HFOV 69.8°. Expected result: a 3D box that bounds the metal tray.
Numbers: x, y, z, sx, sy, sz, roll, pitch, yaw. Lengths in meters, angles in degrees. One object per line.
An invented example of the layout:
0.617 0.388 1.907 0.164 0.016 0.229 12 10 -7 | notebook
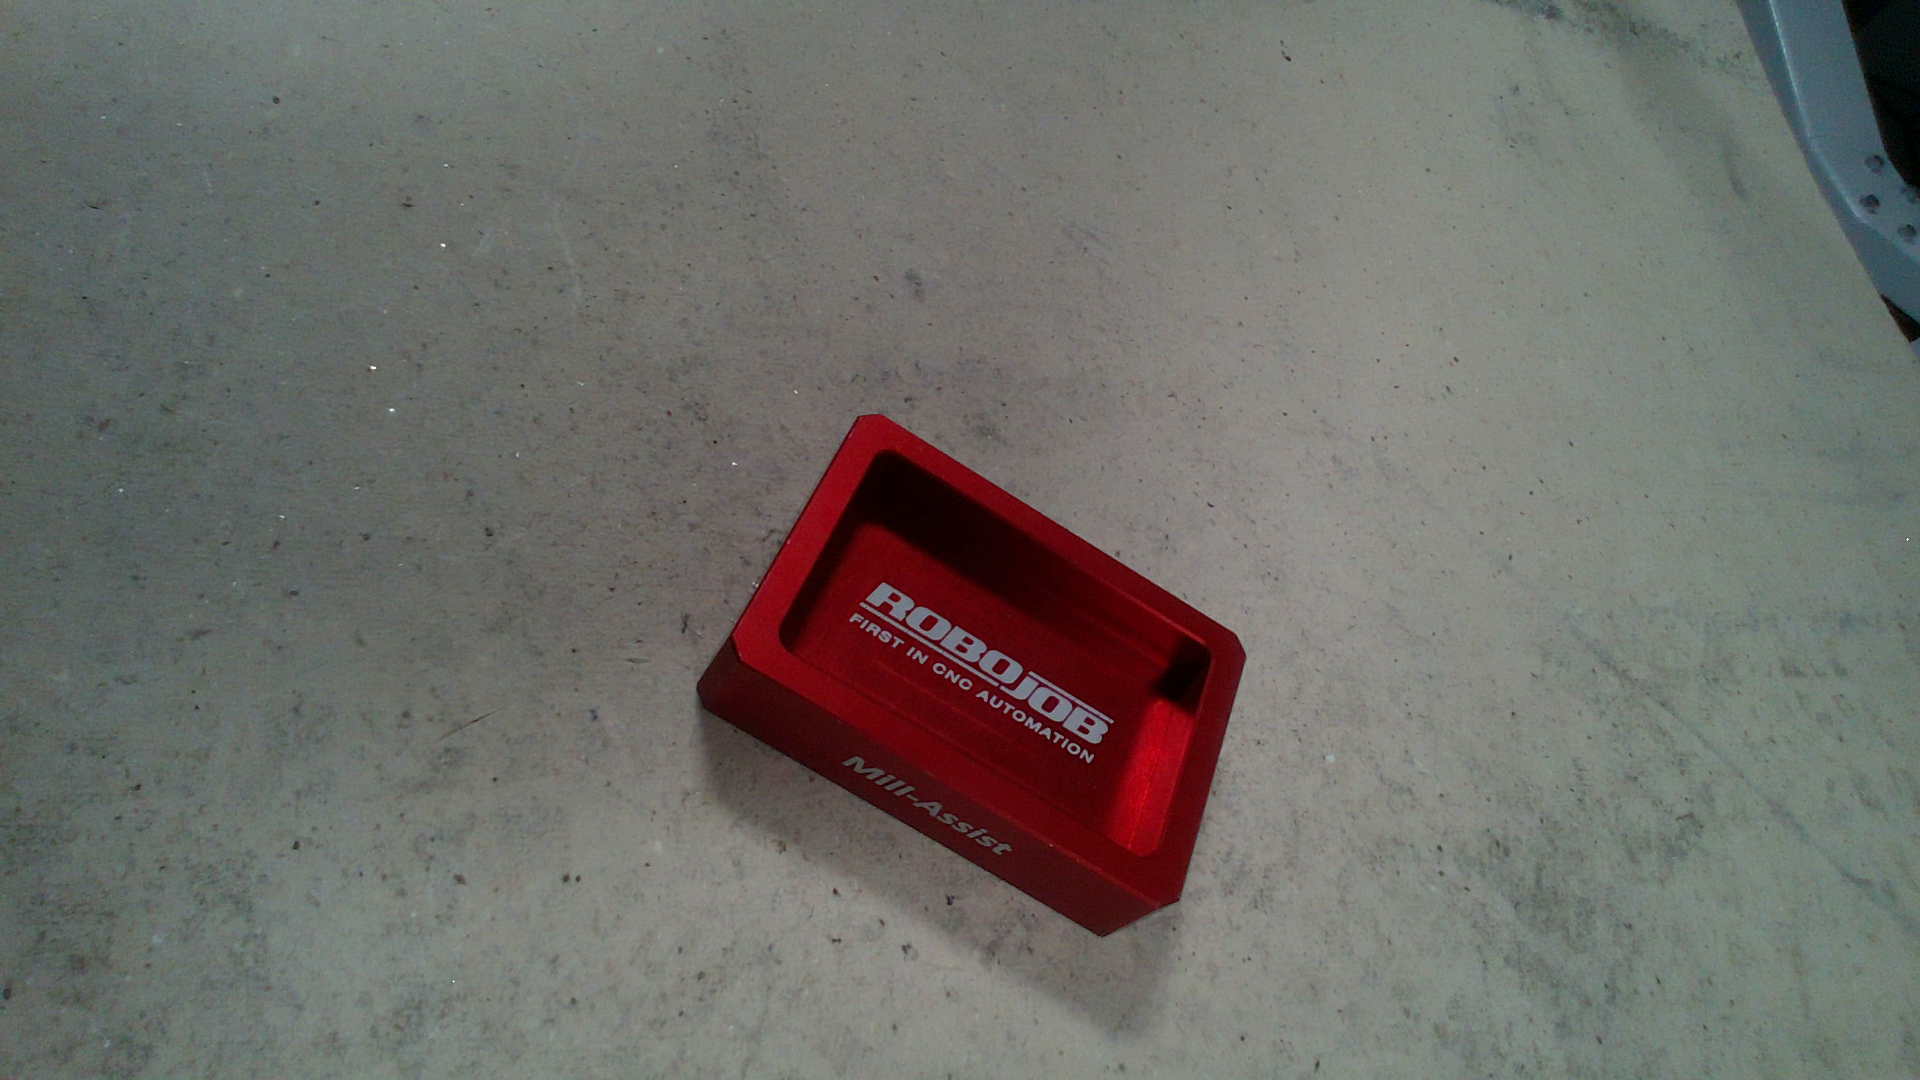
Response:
0.008 0.034 0.370 0.130 0.030 0.090 31 52 -8 | metal tray
